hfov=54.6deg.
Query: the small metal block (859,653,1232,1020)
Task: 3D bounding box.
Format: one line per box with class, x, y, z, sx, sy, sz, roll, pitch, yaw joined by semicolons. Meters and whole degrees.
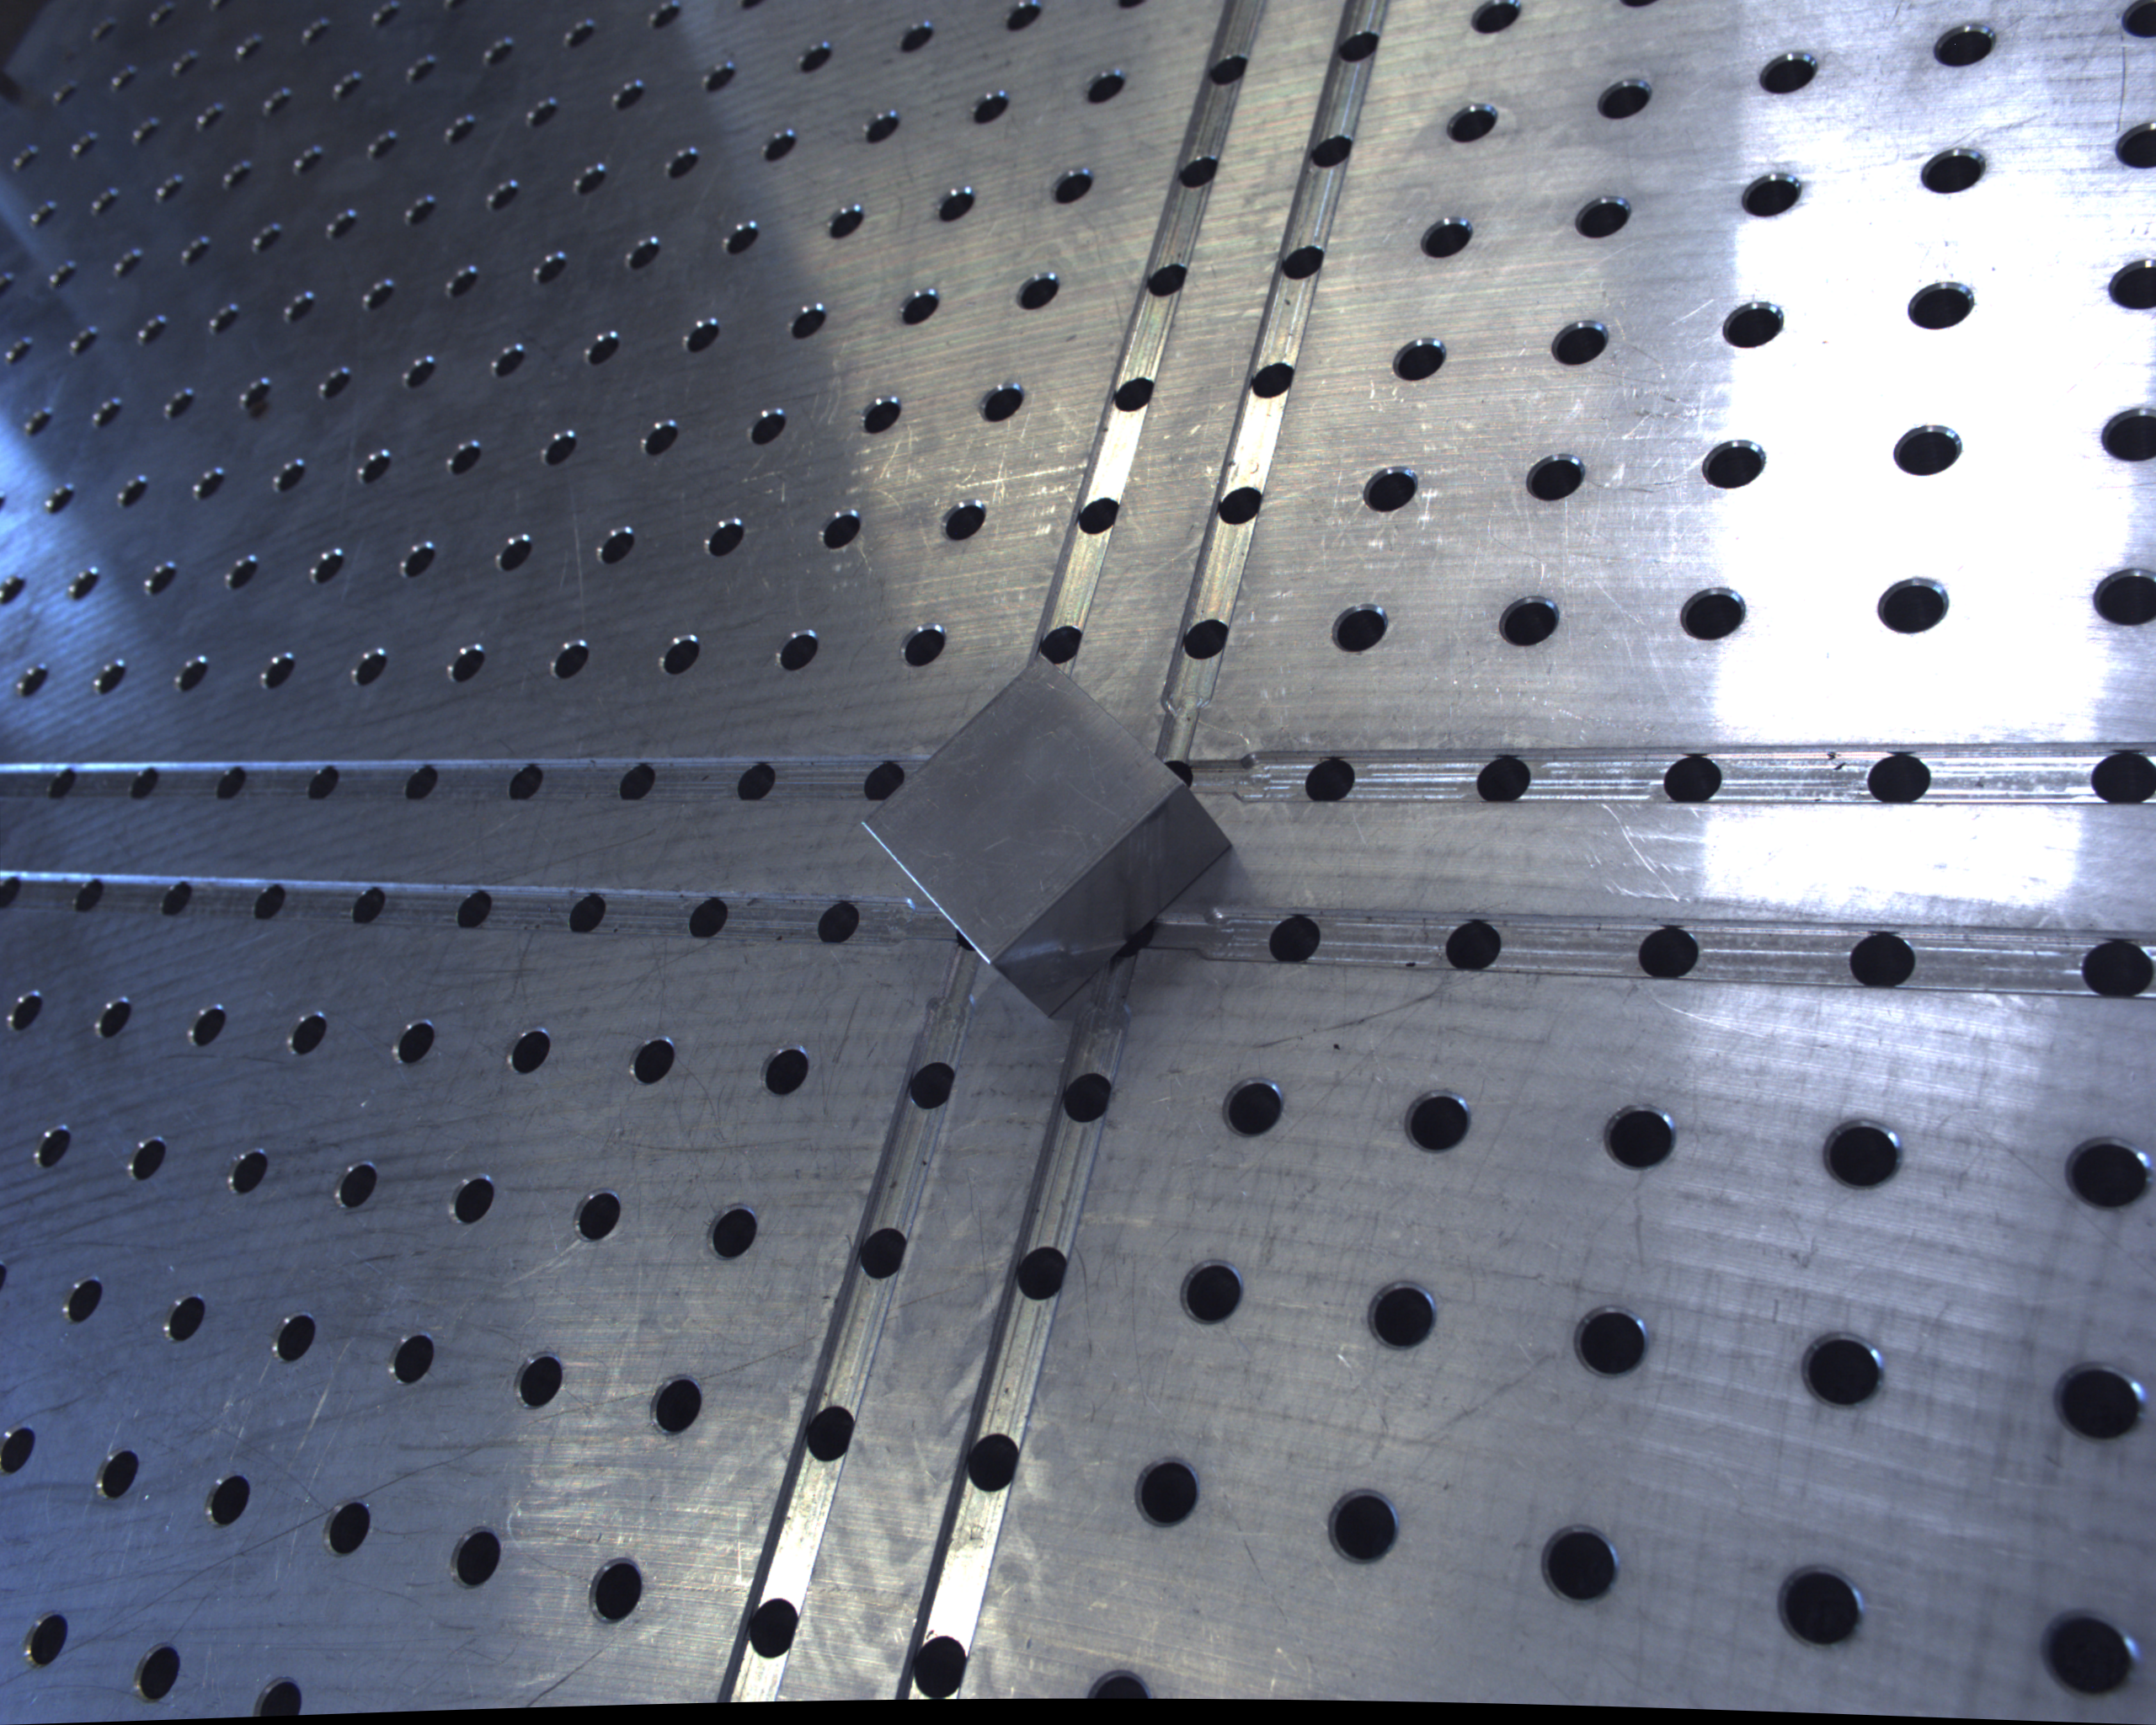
small metal block;-0.007;-0.006;0.417;0.050;0.025;0.050;-44;51;-2
